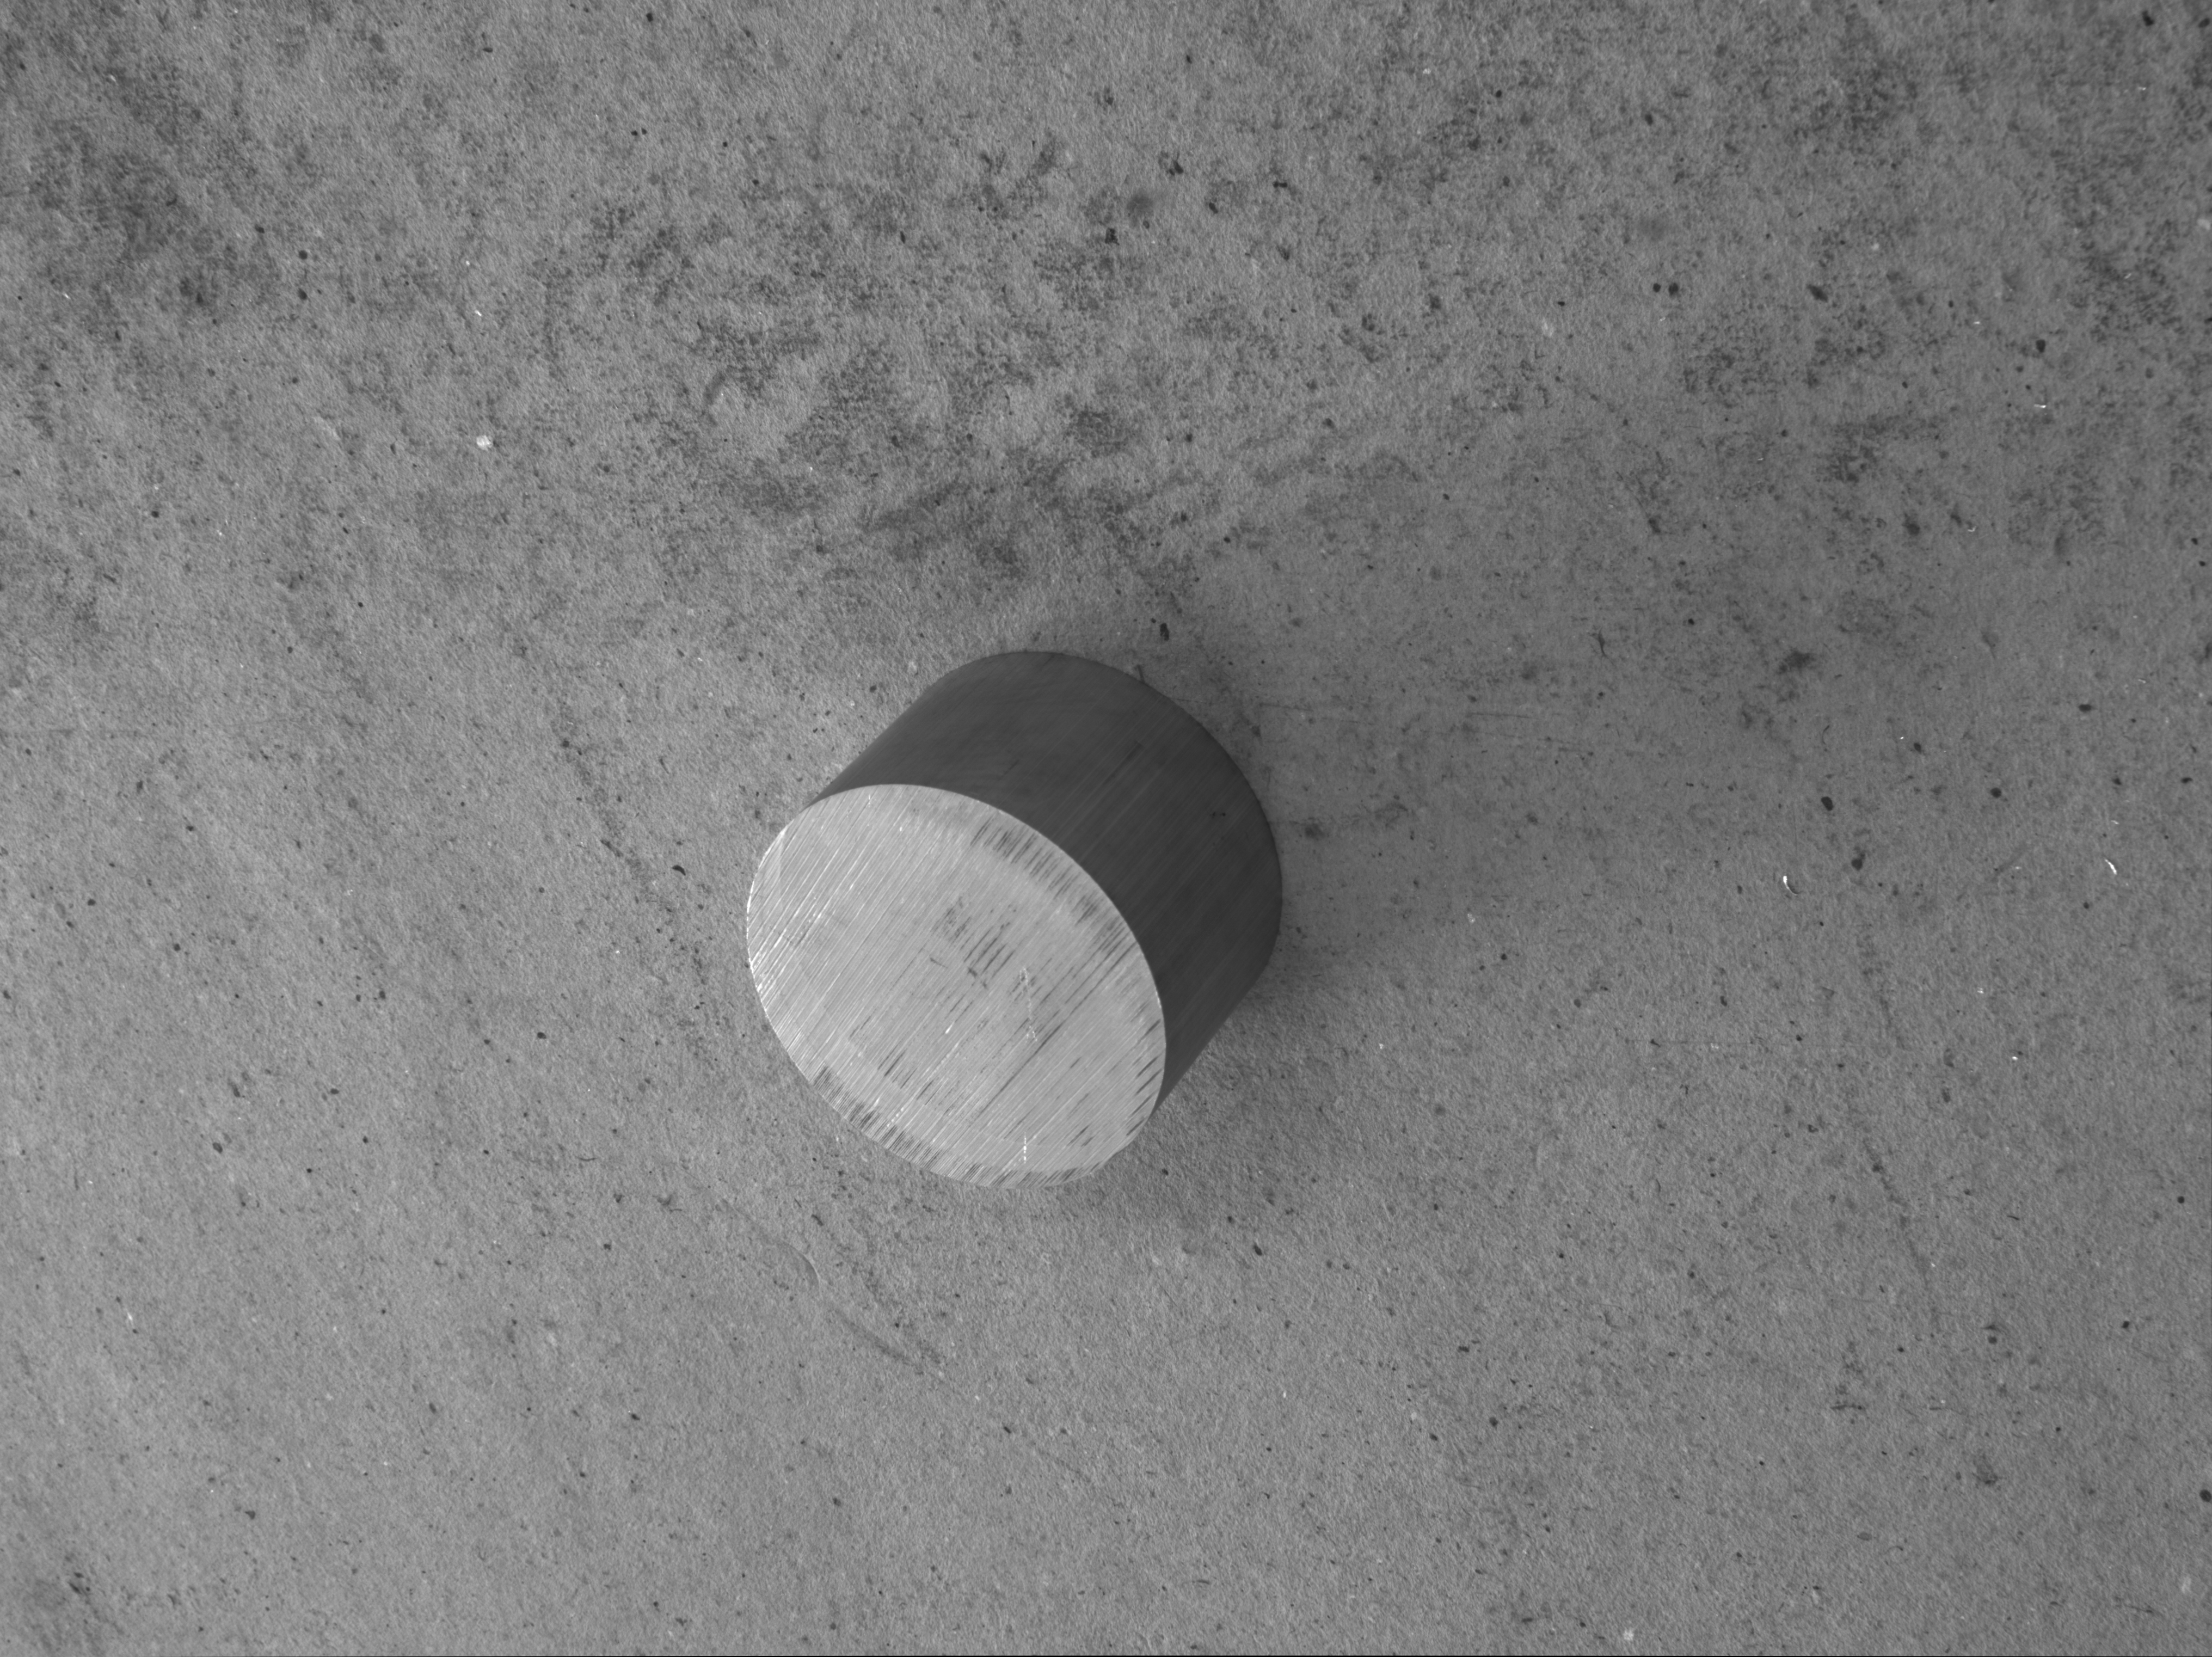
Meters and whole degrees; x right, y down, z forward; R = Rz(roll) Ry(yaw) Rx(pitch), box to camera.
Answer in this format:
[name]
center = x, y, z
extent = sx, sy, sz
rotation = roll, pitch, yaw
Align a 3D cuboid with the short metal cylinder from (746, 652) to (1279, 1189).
[short metal cylinder]
center = -0.016, 0.016, 0.646
extent = 0.080, 0.050, 0.080
rotation = 13, 123, 20
